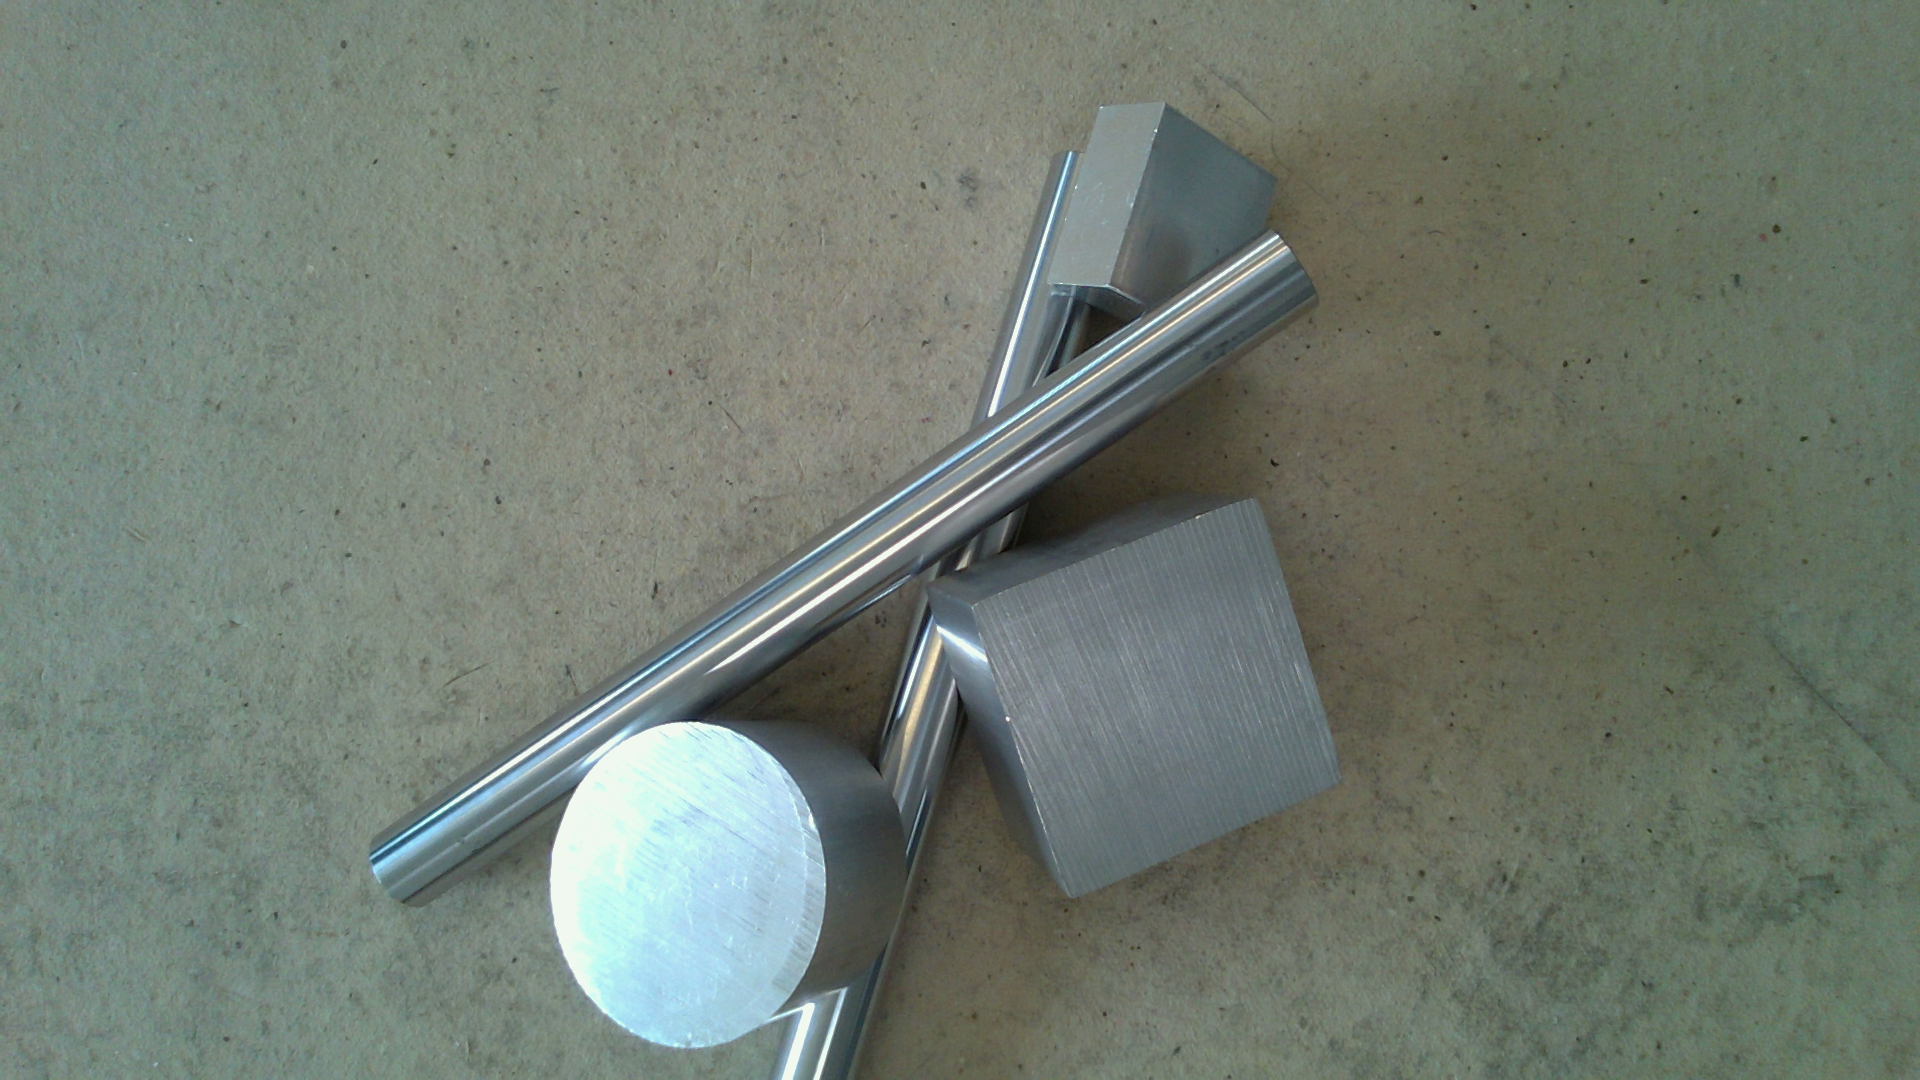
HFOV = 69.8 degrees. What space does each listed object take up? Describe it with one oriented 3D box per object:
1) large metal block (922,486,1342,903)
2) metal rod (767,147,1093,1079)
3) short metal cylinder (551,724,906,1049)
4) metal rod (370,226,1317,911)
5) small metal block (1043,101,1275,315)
[{"bbox_3d":[0.045,0.037,0.369,0.080,0.050,0.080,-20,99,-12],"label":"large metal block"},{"bbox_3d":[-0.006,0.036,0.395,0.025,0.025,0.300,17,90,0],"label":"metal rod"},{"bbox_3d":[-0.061,0.089,0.370,0.080,0.050,0.080,-2,83,20],"label":"short metal cylinder"},{"bbox_3d":[-0.037,0.012,0.378,0.300,0.025,0.025,-34,90,7],"label":"metal rod"},{"bbox_3d":[0.056,-0.087,0.383,0.050,0.025,0.050,17,90,-40],"label":"small metal block"}]
